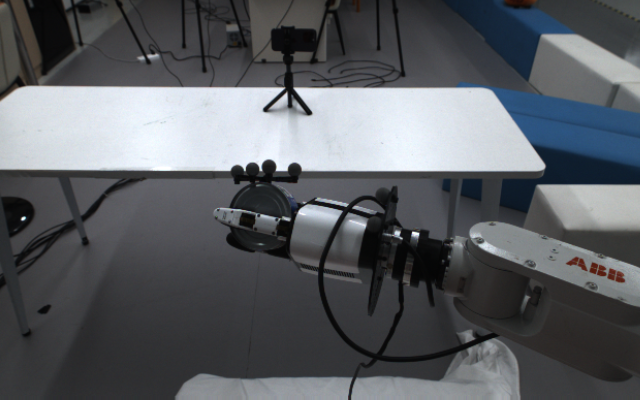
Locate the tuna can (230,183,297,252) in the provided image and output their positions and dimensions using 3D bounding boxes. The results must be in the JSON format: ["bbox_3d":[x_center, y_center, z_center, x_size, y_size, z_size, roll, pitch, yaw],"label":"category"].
[{"bbox_3d":[-0.069,0.021,0.614,0.085,0.085,0.034,15,1,18],"label":"tuna can"}]
